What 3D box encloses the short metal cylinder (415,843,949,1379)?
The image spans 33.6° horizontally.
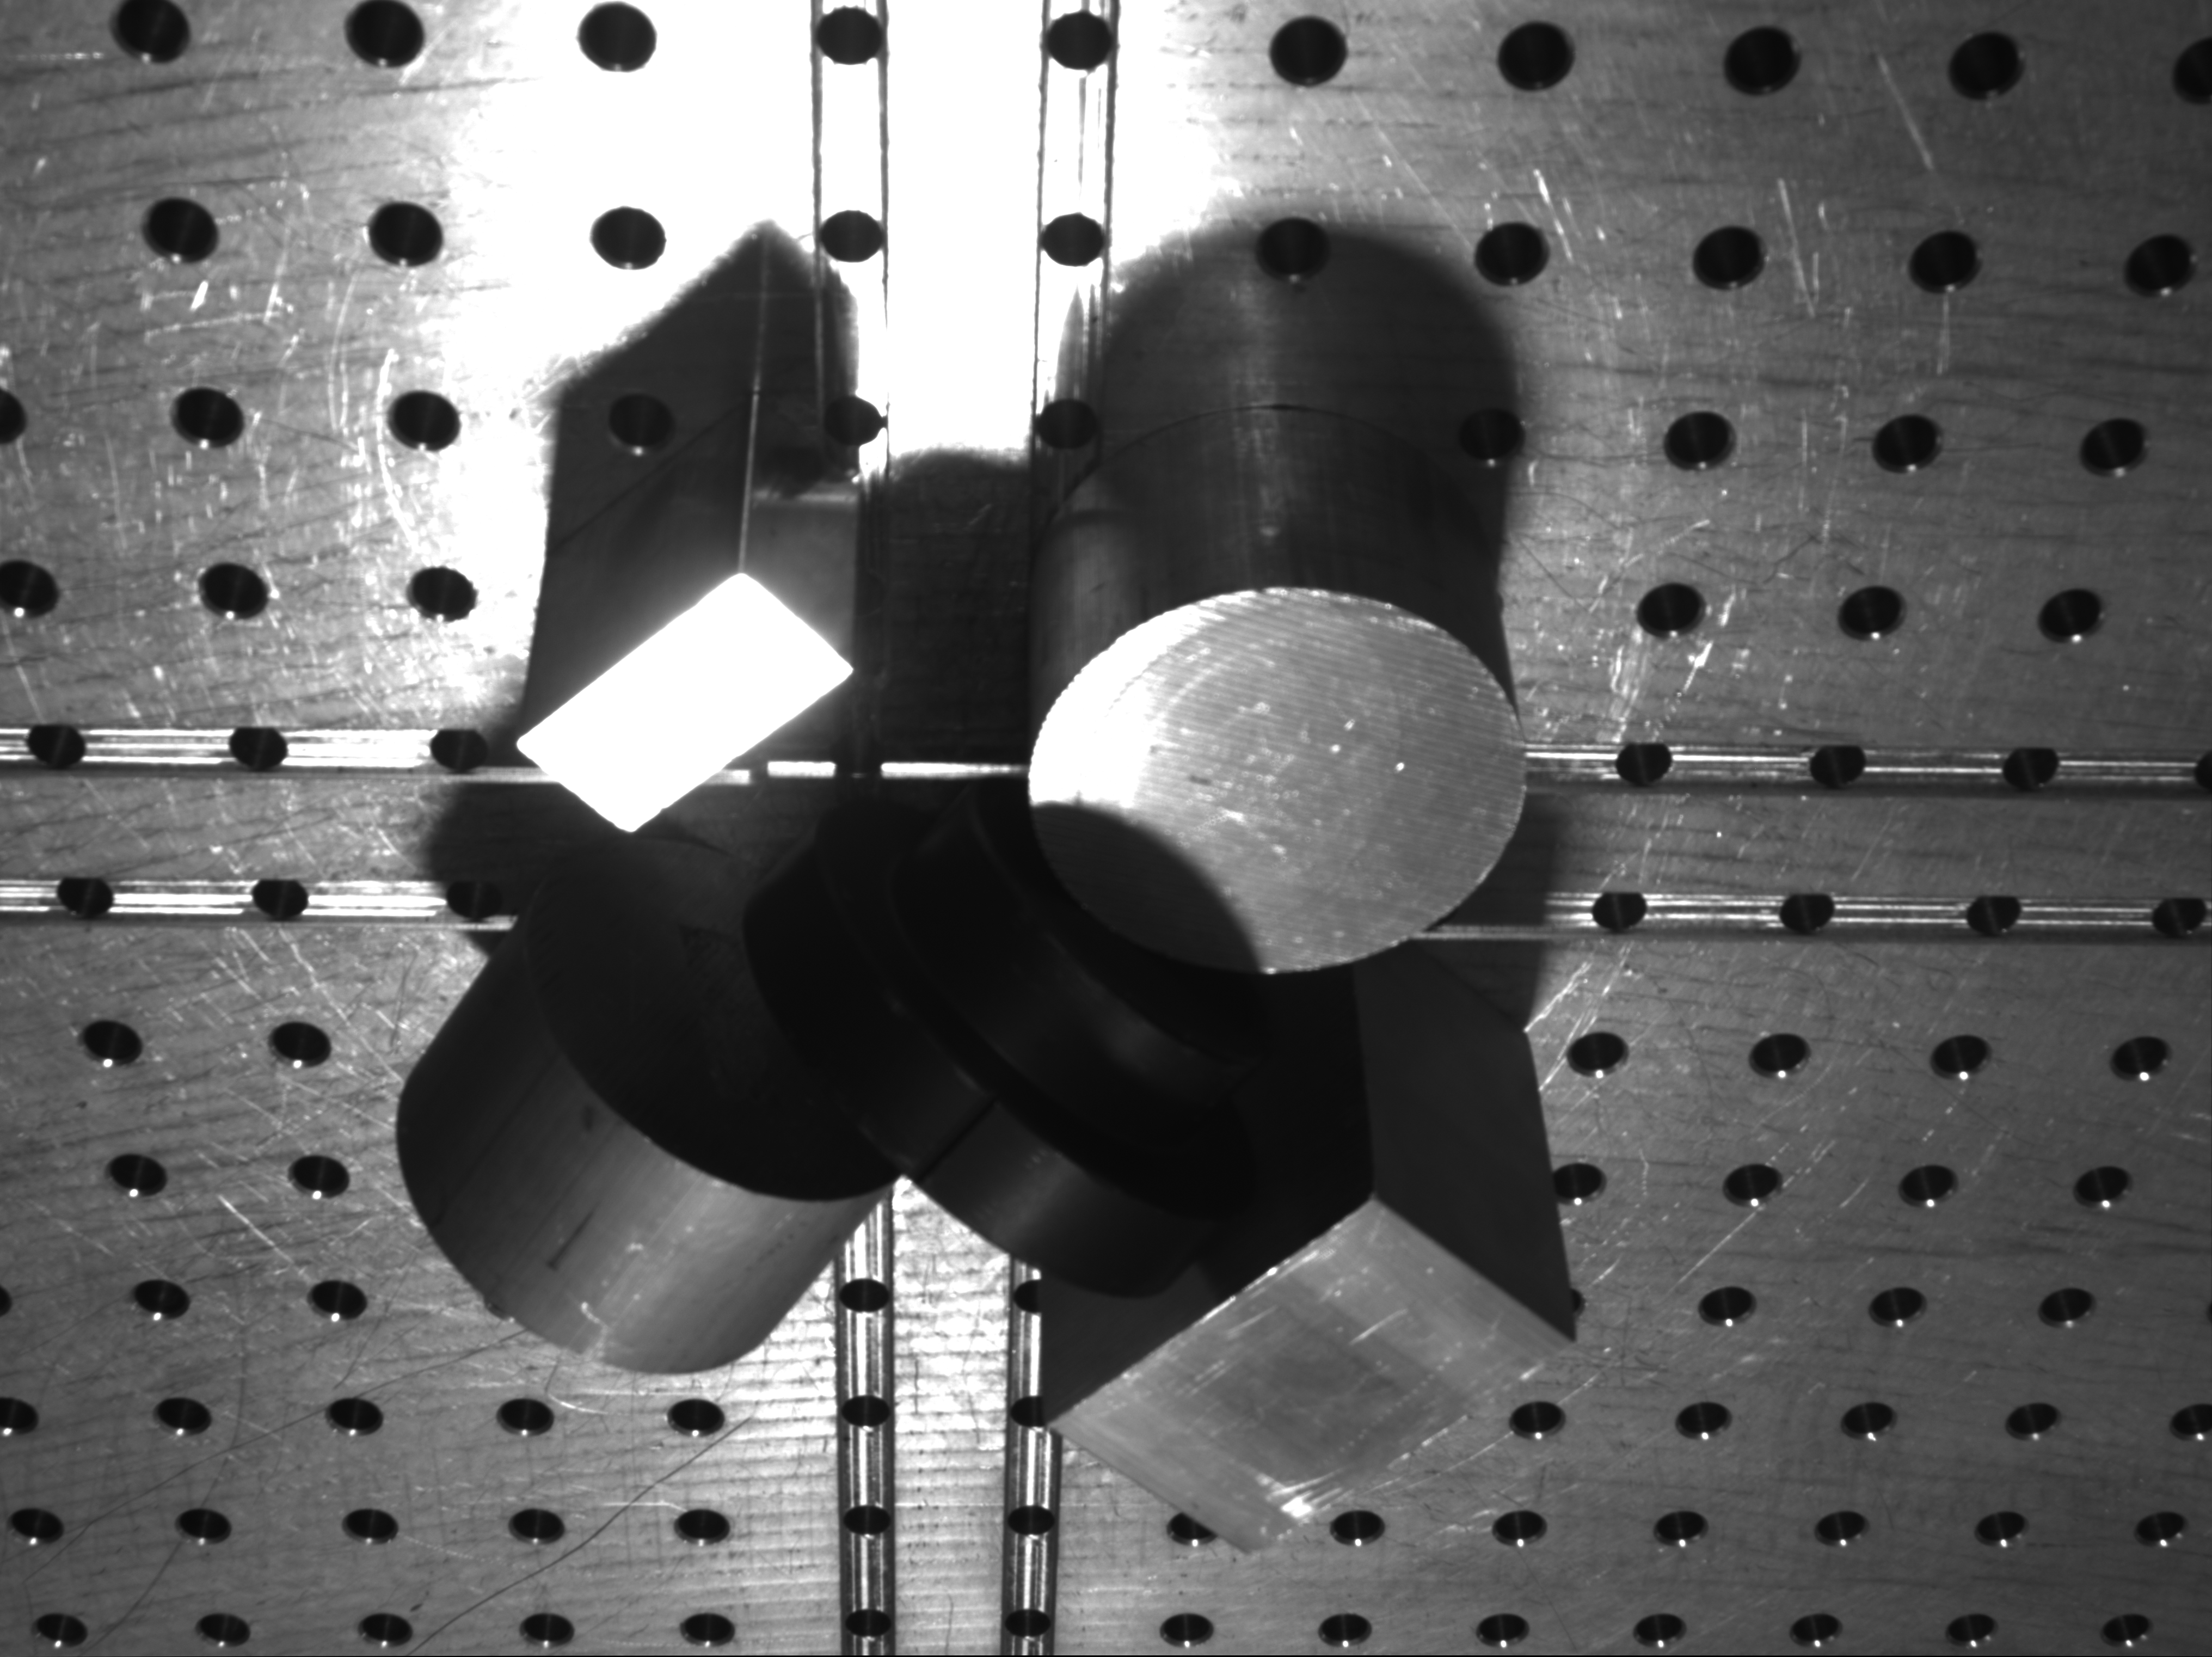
[{"bbox_3d":[-0.074,0.049,0.644,0.080,0.080,0.050,25,125,-21],"label":"short metal cylinder"}]

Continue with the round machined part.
[{"bbox_3d":[-0.008,0.030,0.619,0.098,0.098,0.042,34,109,-26],"label":"round machined part"}]

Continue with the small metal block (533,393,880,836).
[{"bbox_3d":[-0.064,-0.035,0.593,0.050,0.050,0.025,-34,123,24],"label":"small metal block"}]

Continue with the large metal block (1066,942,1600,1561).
[{"bbox_3d":[0.038,0.072,0.668,0.050,0.080,0.080,36,120,-27],"label":"large metal block"}]

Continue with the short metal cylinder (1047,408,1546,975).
[{"bbox_3d":[0.030,-0.022,0.607,0.080,0.050,0.080,-1,130,-1],"label":"short metal cylinder"}]
